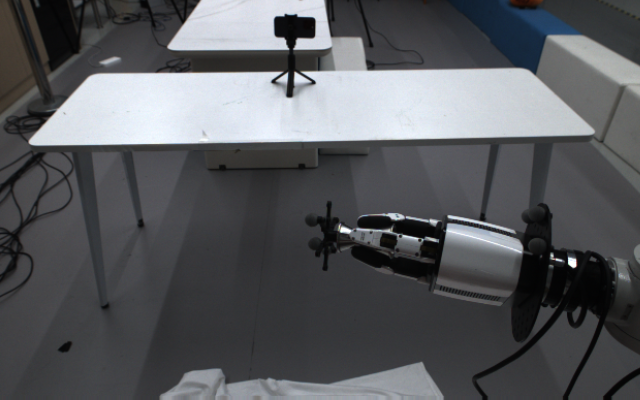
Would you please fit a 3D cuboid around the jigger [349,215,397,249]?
[{"bbox_3d":[0.066,0.044,0.606,0.071,0.043,0.043,2,33,17],"label":"jigger"}]
